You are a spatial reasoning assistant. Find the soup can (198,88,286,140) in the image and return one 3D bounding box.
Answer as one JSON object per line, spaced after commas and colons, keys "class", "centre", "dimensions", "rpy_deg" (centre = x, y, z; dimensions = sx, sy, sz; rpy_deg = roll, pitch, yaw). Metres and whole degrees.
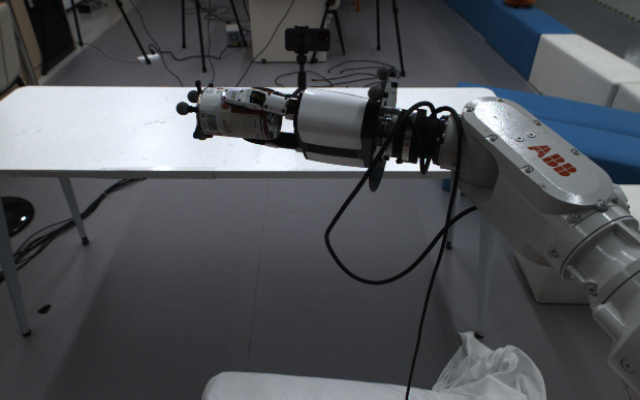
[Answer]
{"class": "soup can", "centre": [-0.108, -0.118, 0.668], "dimensions": [0.101, 0.067, 0.067], "rpy_deg": [6, 35, 11]}
